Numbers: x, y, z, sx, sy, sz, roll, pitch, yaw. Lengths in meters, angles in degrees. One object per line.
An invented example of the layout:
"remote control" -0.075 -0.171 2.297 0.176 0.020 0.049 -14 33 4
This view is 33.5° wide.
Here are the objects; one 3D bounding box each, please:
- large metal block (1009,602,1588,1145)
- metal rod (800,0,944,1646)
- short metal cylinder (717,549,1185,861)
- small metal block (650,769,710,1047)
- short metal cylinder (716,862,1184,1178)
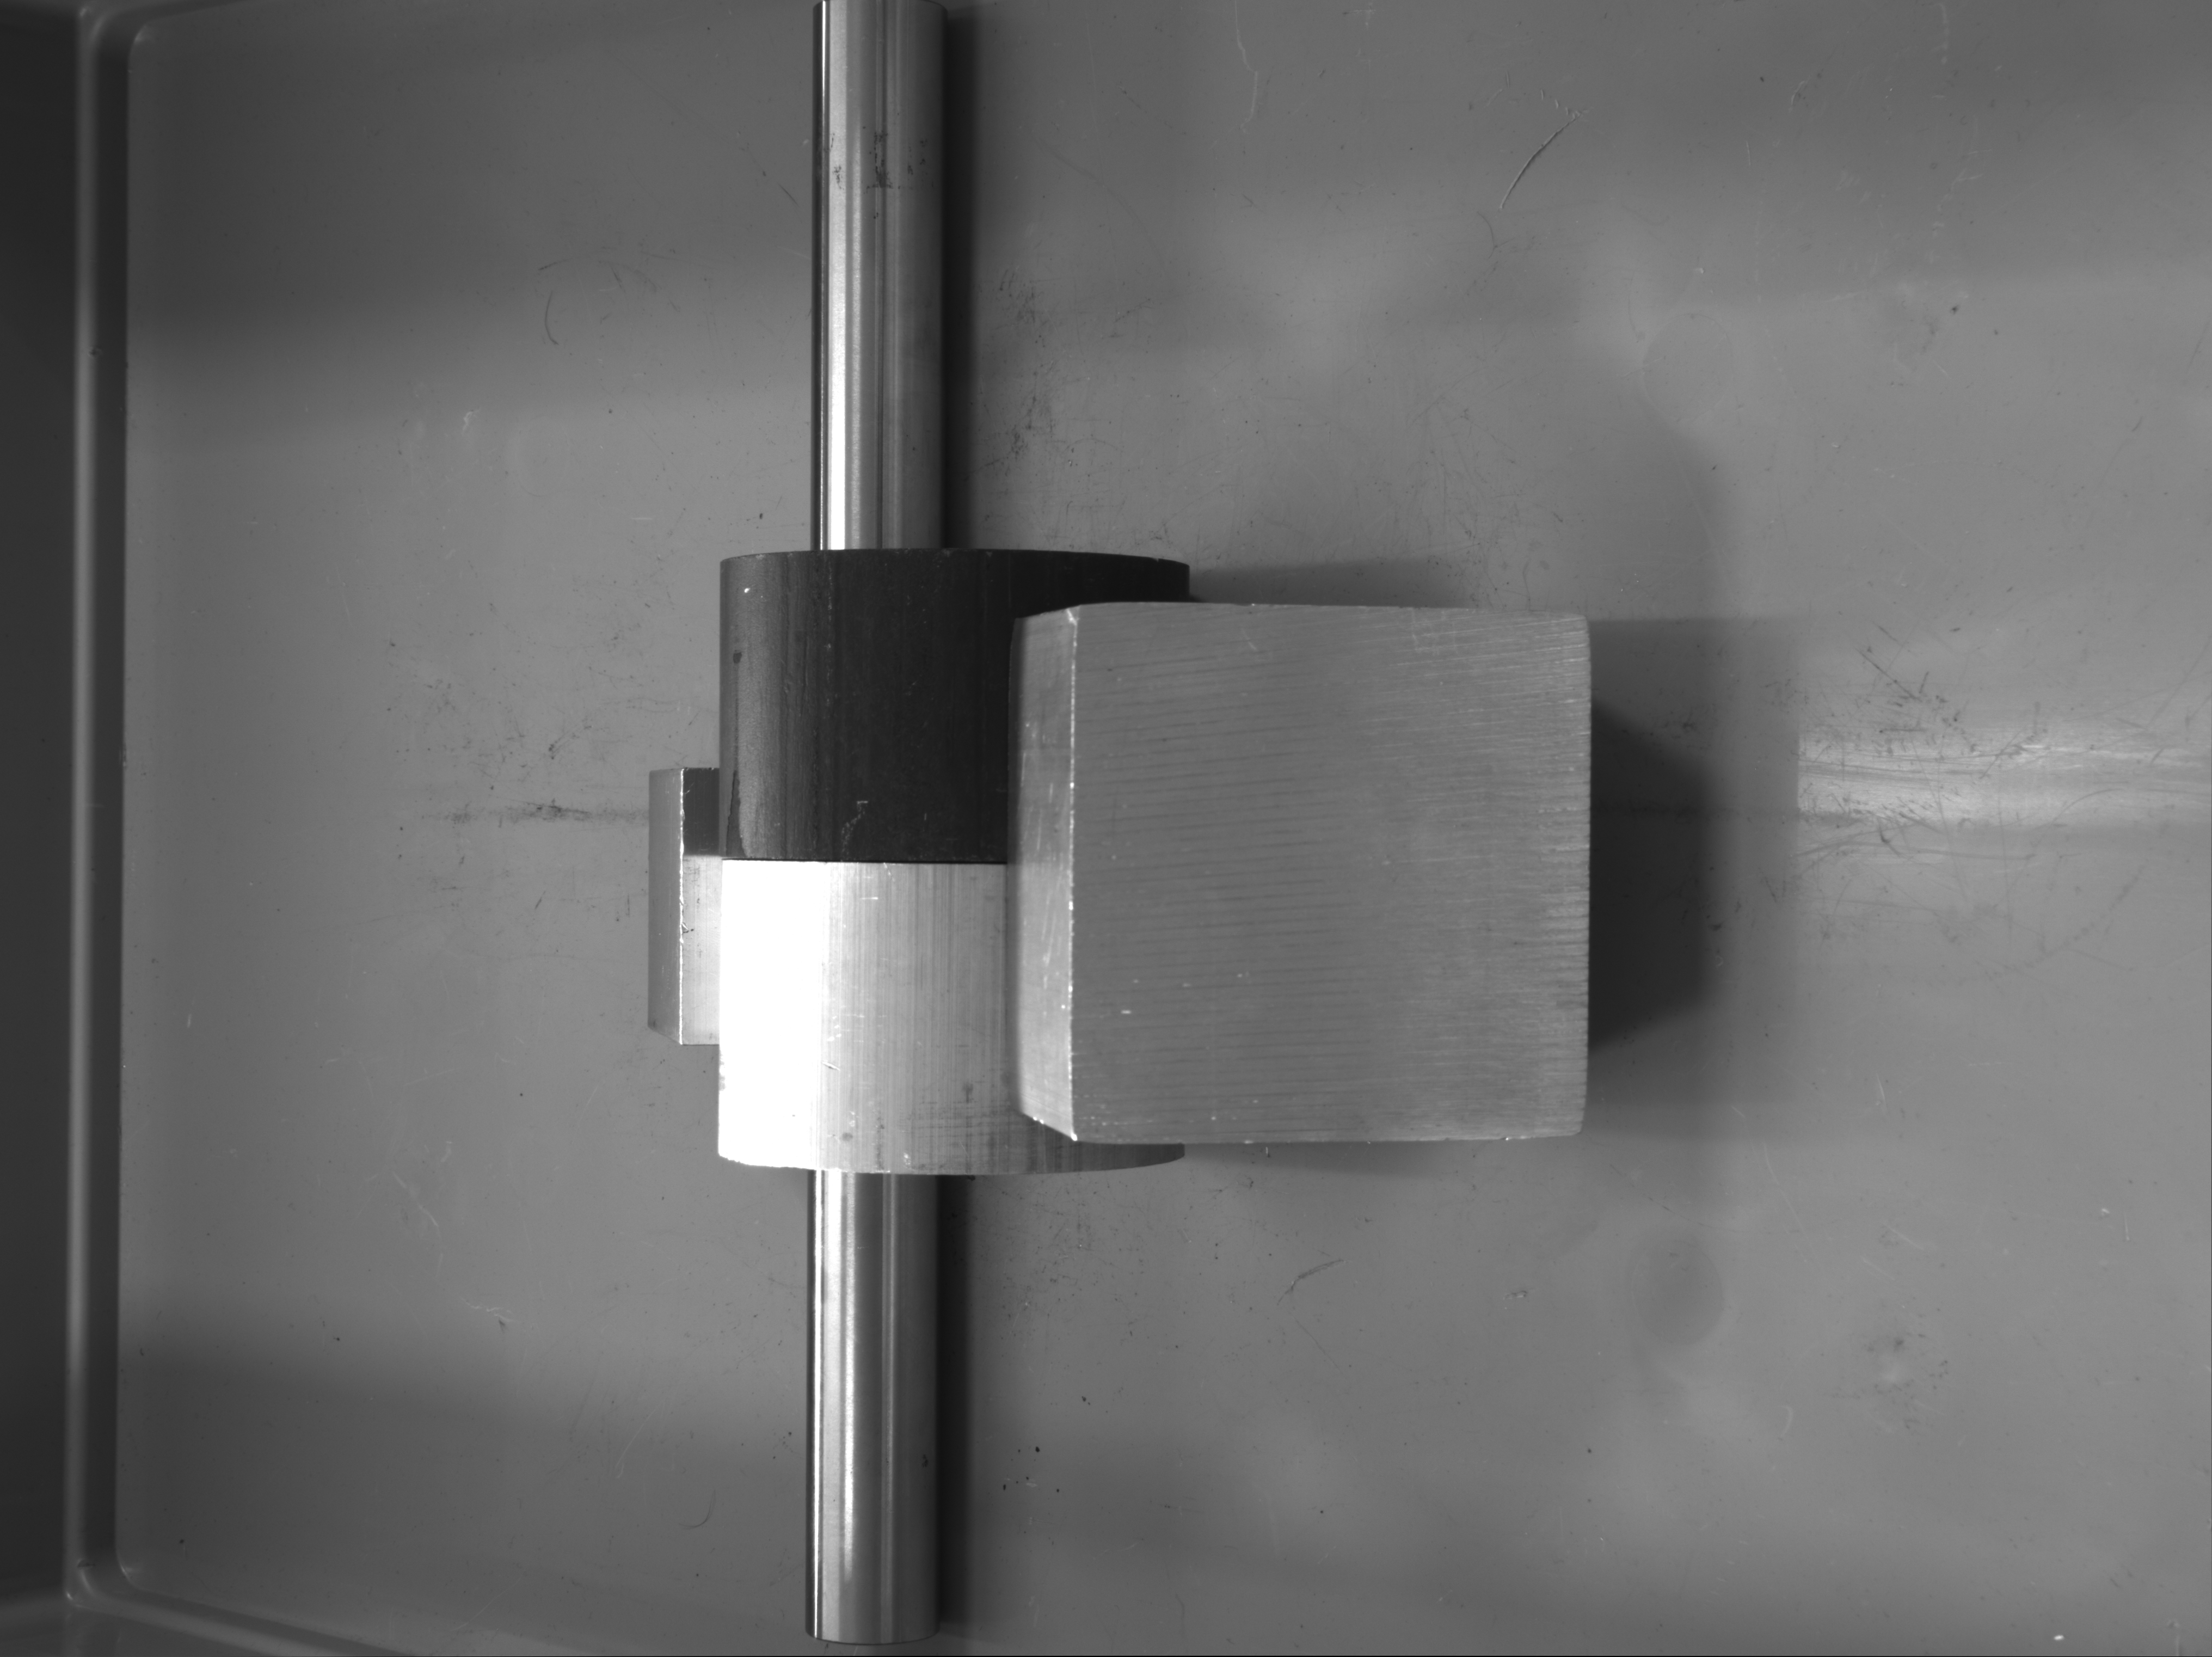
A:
"large metal block" 0.029 0.006 0.574 0.050 0.080 0.080 -176 86 -78
"metal rod" -0.043 -0.001 0.680 0.025 0.025 0.300 0 90 40
"short metal cylinder" -0.026 -0.020 0.629 0.080 0.080 0.050 1 90 40
"small metal block" -0.070 0.015 0.688 0.050 0.025 0.050 179 92 -75
"short metal cylinder" -0.027 0.031 0.630 0.080 0.080 0.050 1 90 40
